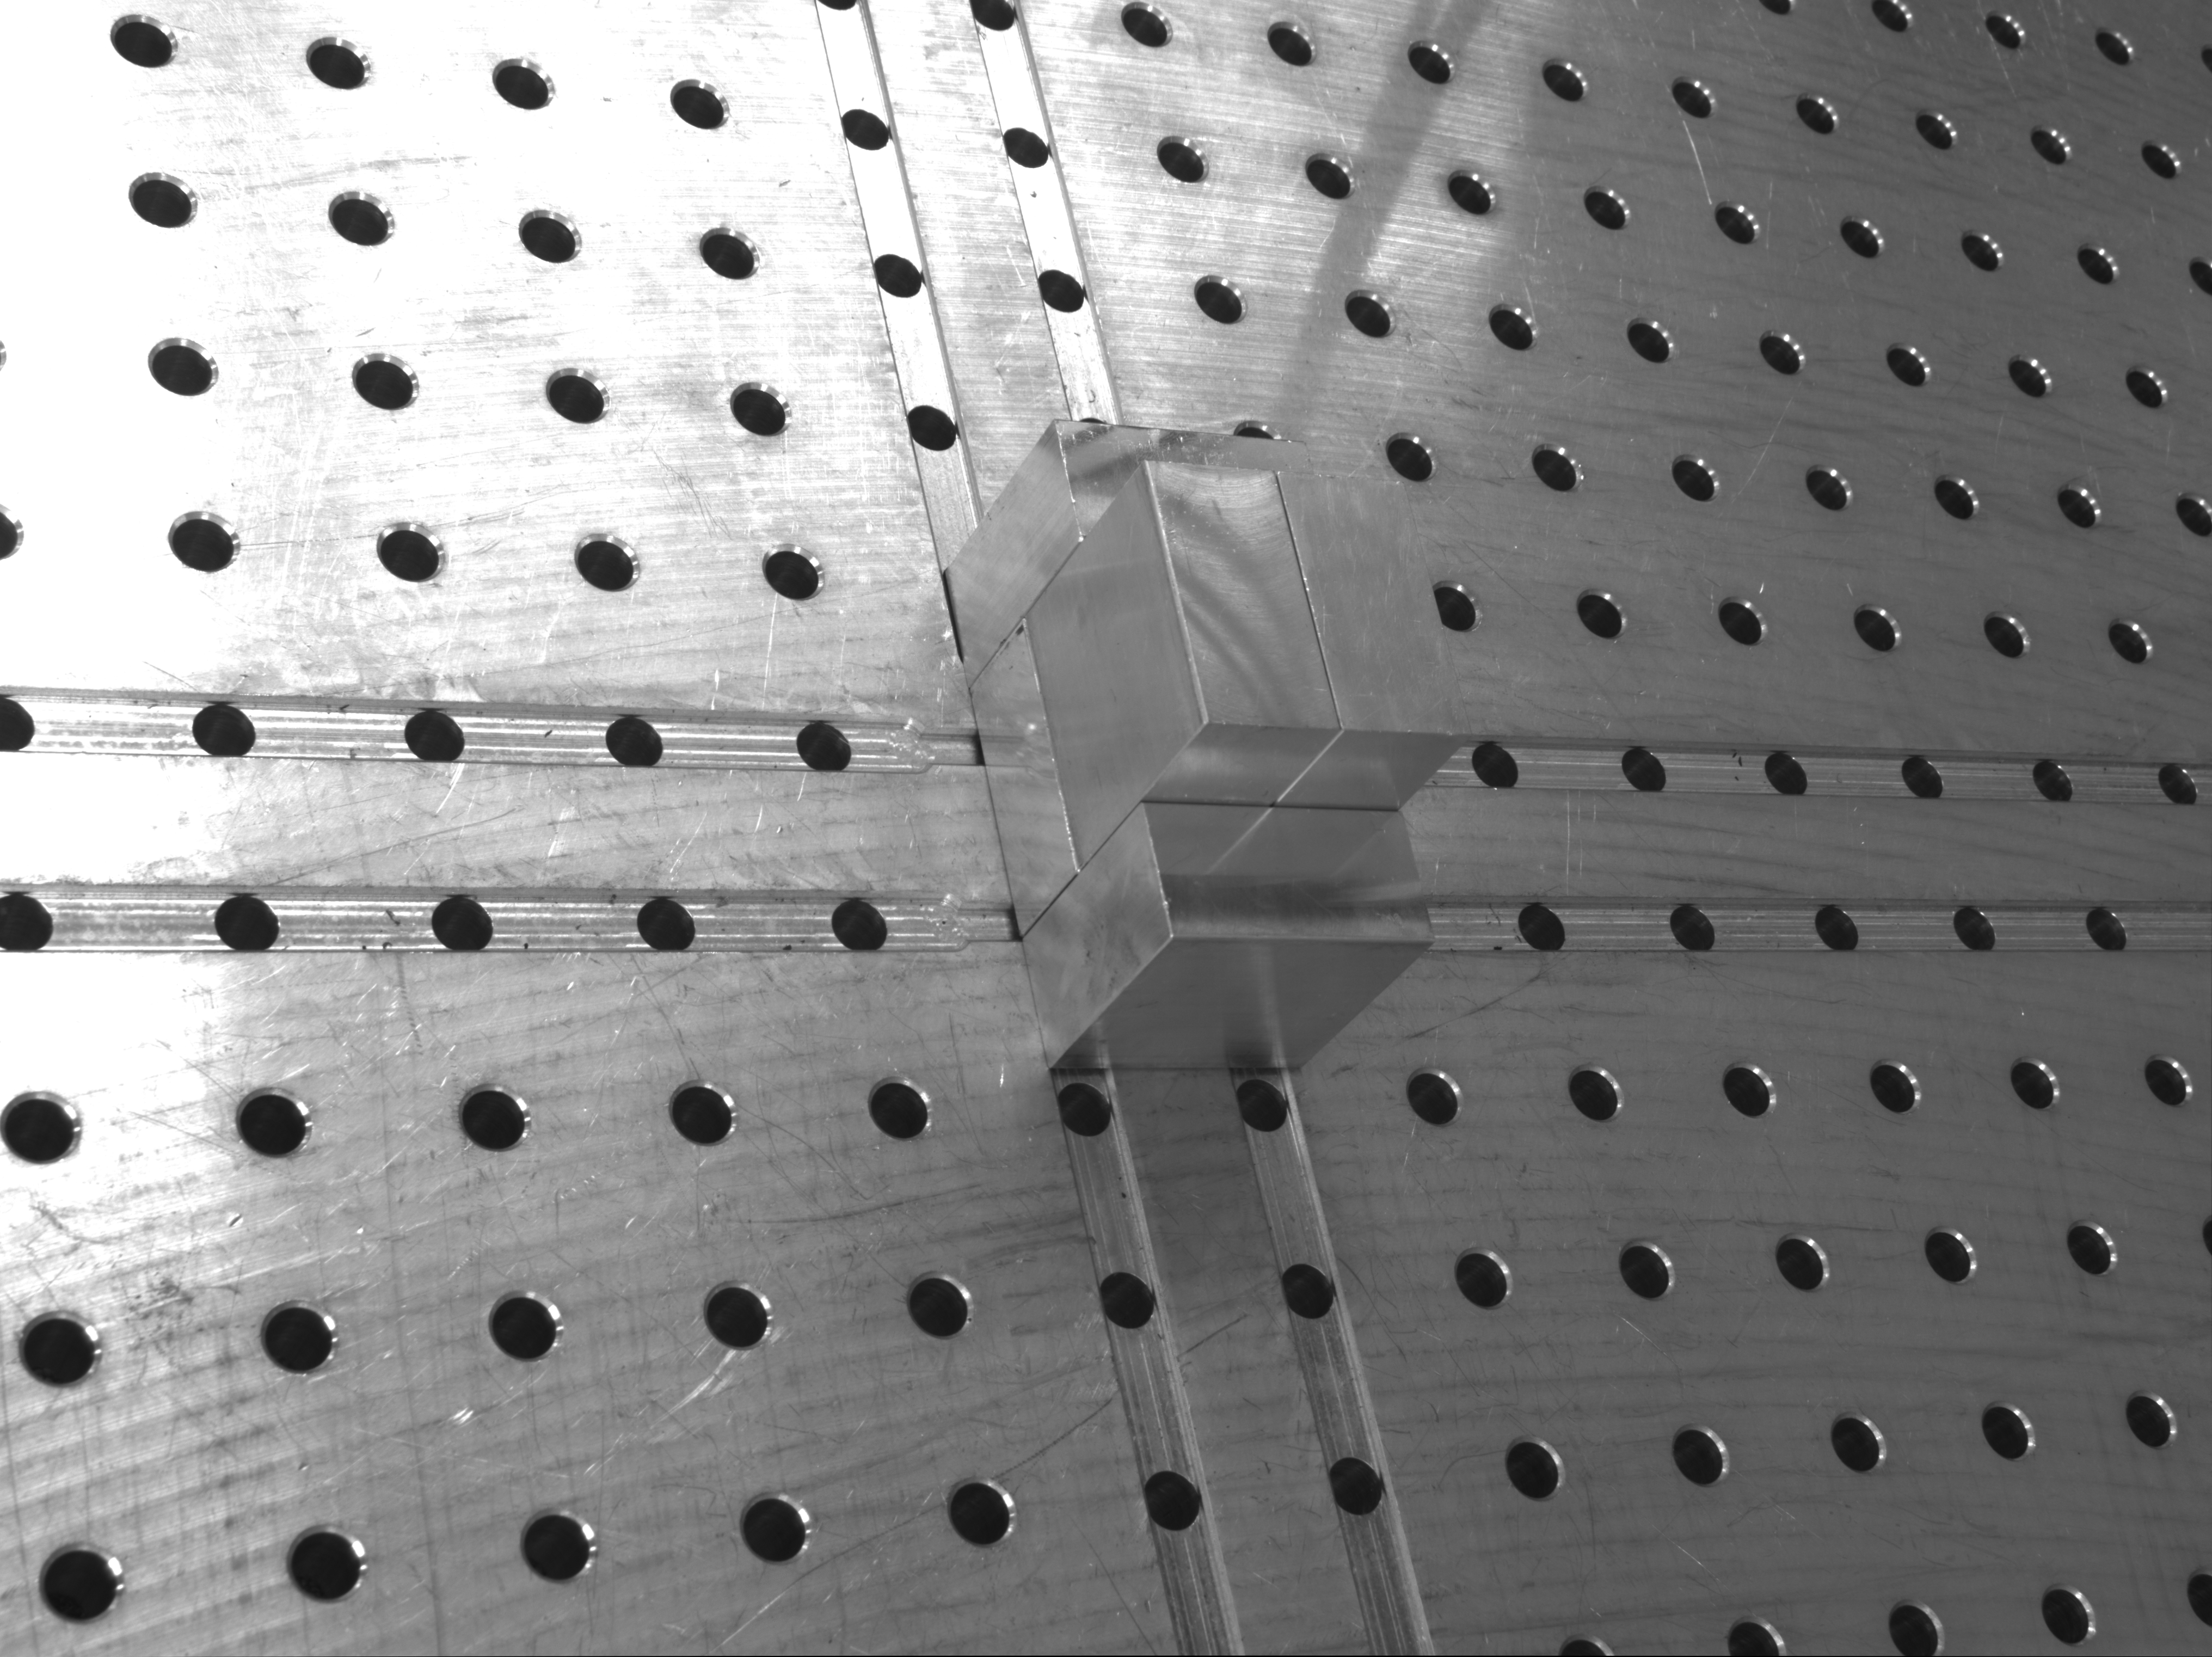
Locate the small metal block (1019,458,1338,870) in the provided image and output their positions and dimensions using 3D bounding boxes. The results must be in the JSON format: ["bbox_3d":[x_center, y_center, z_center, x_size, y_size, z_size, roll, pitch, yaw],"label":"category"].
[{"bbox_3d":[0.011,-0.026,0.616,0.025,0.050,0.050,2,61,-27],"label":"small metal block"}]

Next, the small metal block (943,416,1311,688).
[{"bbox_3d":[0.005,-0.047,0.657,0.050,0.050,0.025,2,61,-27],"label":"small metal block"}]

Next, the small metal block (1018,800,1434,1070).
[{"bbox_3d":[0.020,0.019,0.625,0.050,0.050,0.025,2,61,-27],"label":"small metal block"}]

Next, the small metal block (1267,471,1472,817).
[{"bbox_3d":[0.034,-0.026,0.628,0.025,0.050,0.050,1,61,-26],"label":"small metal block"}]

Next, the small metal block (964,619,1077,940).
[{"bbox_3d":[0.007,-0.008,0.650,0.050,0.025,0.050,1,61,-26],"label":"small metal block"}]
